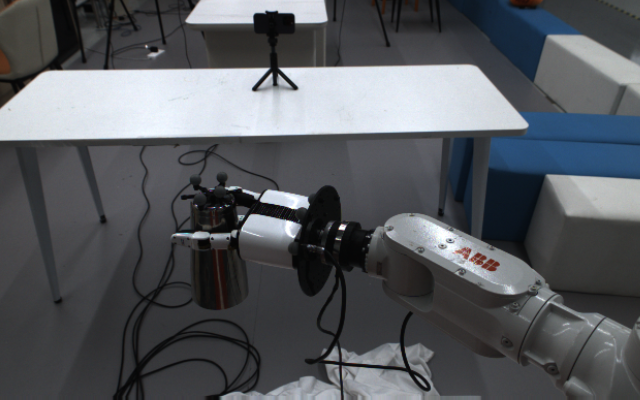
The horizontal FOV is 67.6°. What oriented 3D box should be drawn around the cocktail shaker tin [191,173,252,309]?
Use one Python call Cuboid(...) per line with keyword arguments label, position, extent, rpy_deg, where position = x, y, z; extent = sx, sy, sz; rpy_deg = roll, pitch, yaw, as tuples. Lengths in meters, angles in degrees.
Cuboid(label="cocktail shaker tin", position=(-0.159, 0.072, 0.756), extent=(0.093, 0.170, 0.093), rpy_deg=(1, 27, -1))
